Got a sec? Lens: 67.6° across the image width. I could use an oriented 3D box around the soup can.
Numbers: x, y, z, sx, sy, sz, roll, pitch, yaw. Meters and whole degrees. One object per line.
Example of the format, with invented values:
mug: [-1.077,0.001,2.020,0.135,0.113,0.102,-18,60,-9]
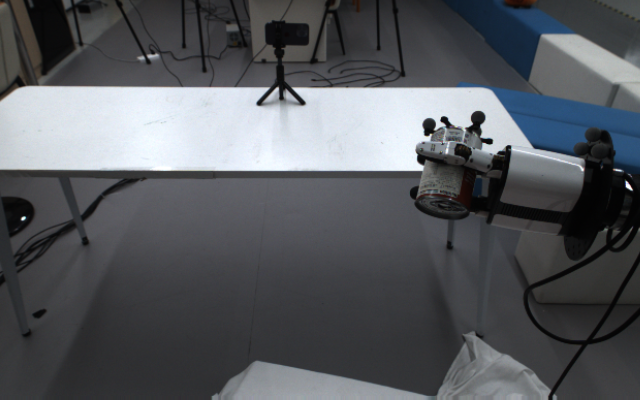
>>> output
soup can: [0.165,-0.037,0.619,0.067,0.067,0.101,12,71,14]
